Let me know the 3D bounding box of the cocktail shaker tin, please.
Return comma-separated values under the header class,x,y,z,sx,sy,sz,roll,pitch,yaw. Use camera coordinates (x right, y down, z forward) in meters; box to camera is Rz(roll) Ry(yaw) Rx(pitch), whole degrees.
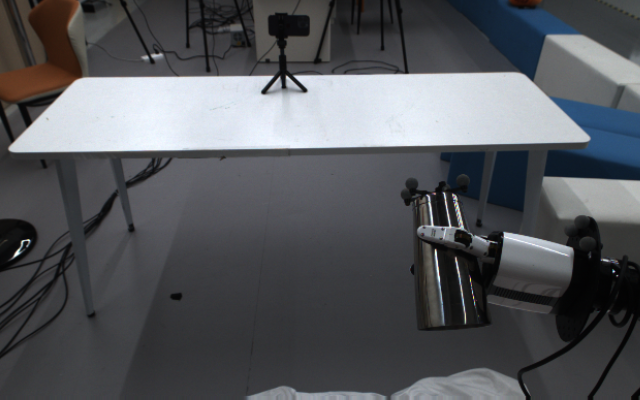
class,x,y,z,sx,sy,sz,roll,pitch,yaw
cocktail shaker tin,0.165,0.080,0.636,0.093,0.093,0.170,-2,71,-6
